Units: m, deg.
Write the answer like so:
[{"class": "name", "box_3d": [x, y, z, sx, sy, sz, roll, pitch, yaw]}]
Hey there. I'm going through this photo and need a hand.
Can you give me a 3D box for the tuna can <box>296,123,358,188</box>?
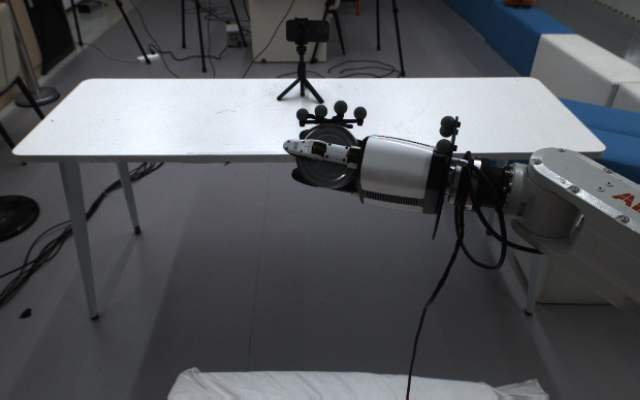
[{"class": "tuna can", "box_3d": [0.013, -0.060, 0.651, 0.085, 0.085, 0.034, 13, -2, 15]}]
